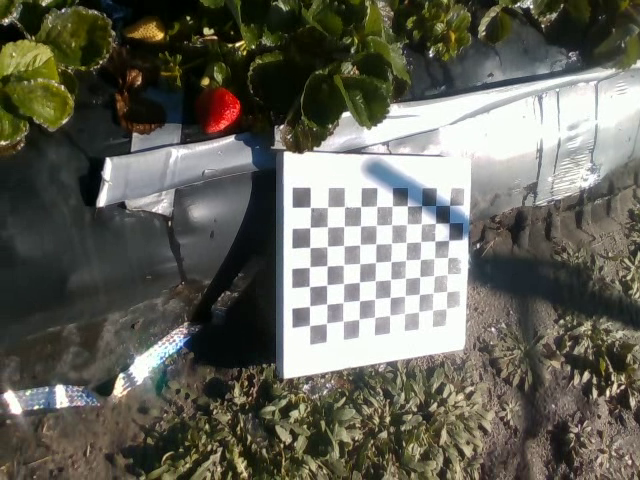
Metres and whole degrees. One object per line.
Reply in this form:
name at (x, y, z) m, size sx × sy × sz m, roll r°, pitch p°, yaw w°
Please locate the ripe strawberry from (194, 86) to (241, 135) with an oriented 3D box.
ripe strawberry at (-0.117, -0.142, 0.633) m, size 0.061 × 0.065 × 0.058 m, roll 34°, pitch -55°, yaw -29°
